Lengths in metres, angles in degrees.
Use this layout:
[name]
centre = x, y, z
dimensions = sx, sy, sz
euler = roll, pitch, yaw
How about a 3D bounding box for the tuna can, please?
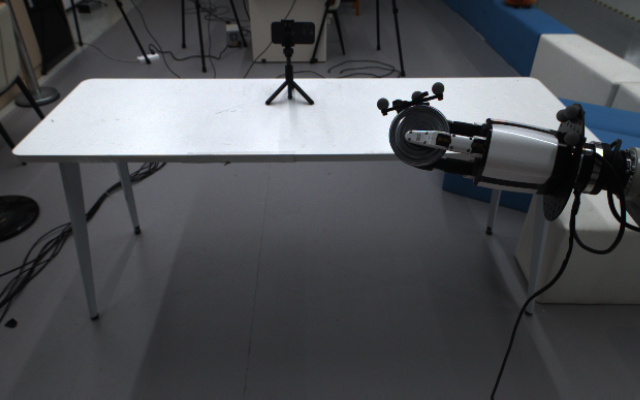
[tuna can]
centre = 0.143, -0.094, 0.690
dimensions = 0.085, 0.085, 0.034
euler = 12, 3, 14
